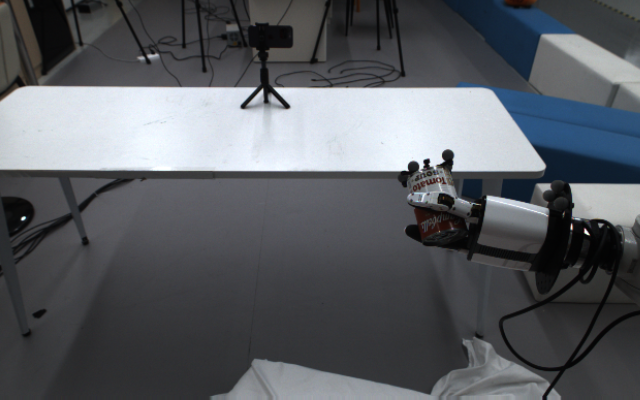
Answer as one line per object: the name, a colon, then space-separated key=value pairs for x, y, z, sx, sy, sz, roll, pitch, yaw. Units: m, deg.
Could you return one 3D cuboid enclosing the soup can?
soup can: x=0.174 y=0.008 z=0.715 sx=0.067 sy=0.067 sz=0.101 roll=-8 pitch=68 yaw=-14
